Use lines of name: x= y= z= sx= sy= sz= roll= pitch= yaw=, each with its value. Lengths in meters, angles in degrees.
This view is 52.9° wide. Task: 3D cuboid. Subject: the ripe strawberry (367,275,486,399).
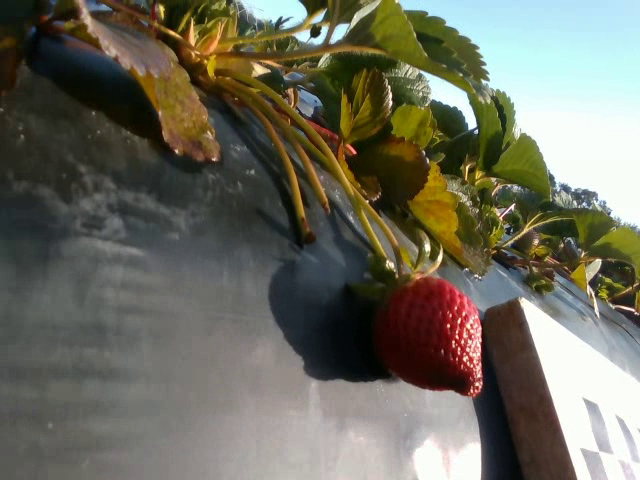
ripe strawberry: x=0.036 y=0.031 z=0.188 sx=0.036 sy=0.044 sz=0.040 roll=-41 pitch=-24 yaw=25
